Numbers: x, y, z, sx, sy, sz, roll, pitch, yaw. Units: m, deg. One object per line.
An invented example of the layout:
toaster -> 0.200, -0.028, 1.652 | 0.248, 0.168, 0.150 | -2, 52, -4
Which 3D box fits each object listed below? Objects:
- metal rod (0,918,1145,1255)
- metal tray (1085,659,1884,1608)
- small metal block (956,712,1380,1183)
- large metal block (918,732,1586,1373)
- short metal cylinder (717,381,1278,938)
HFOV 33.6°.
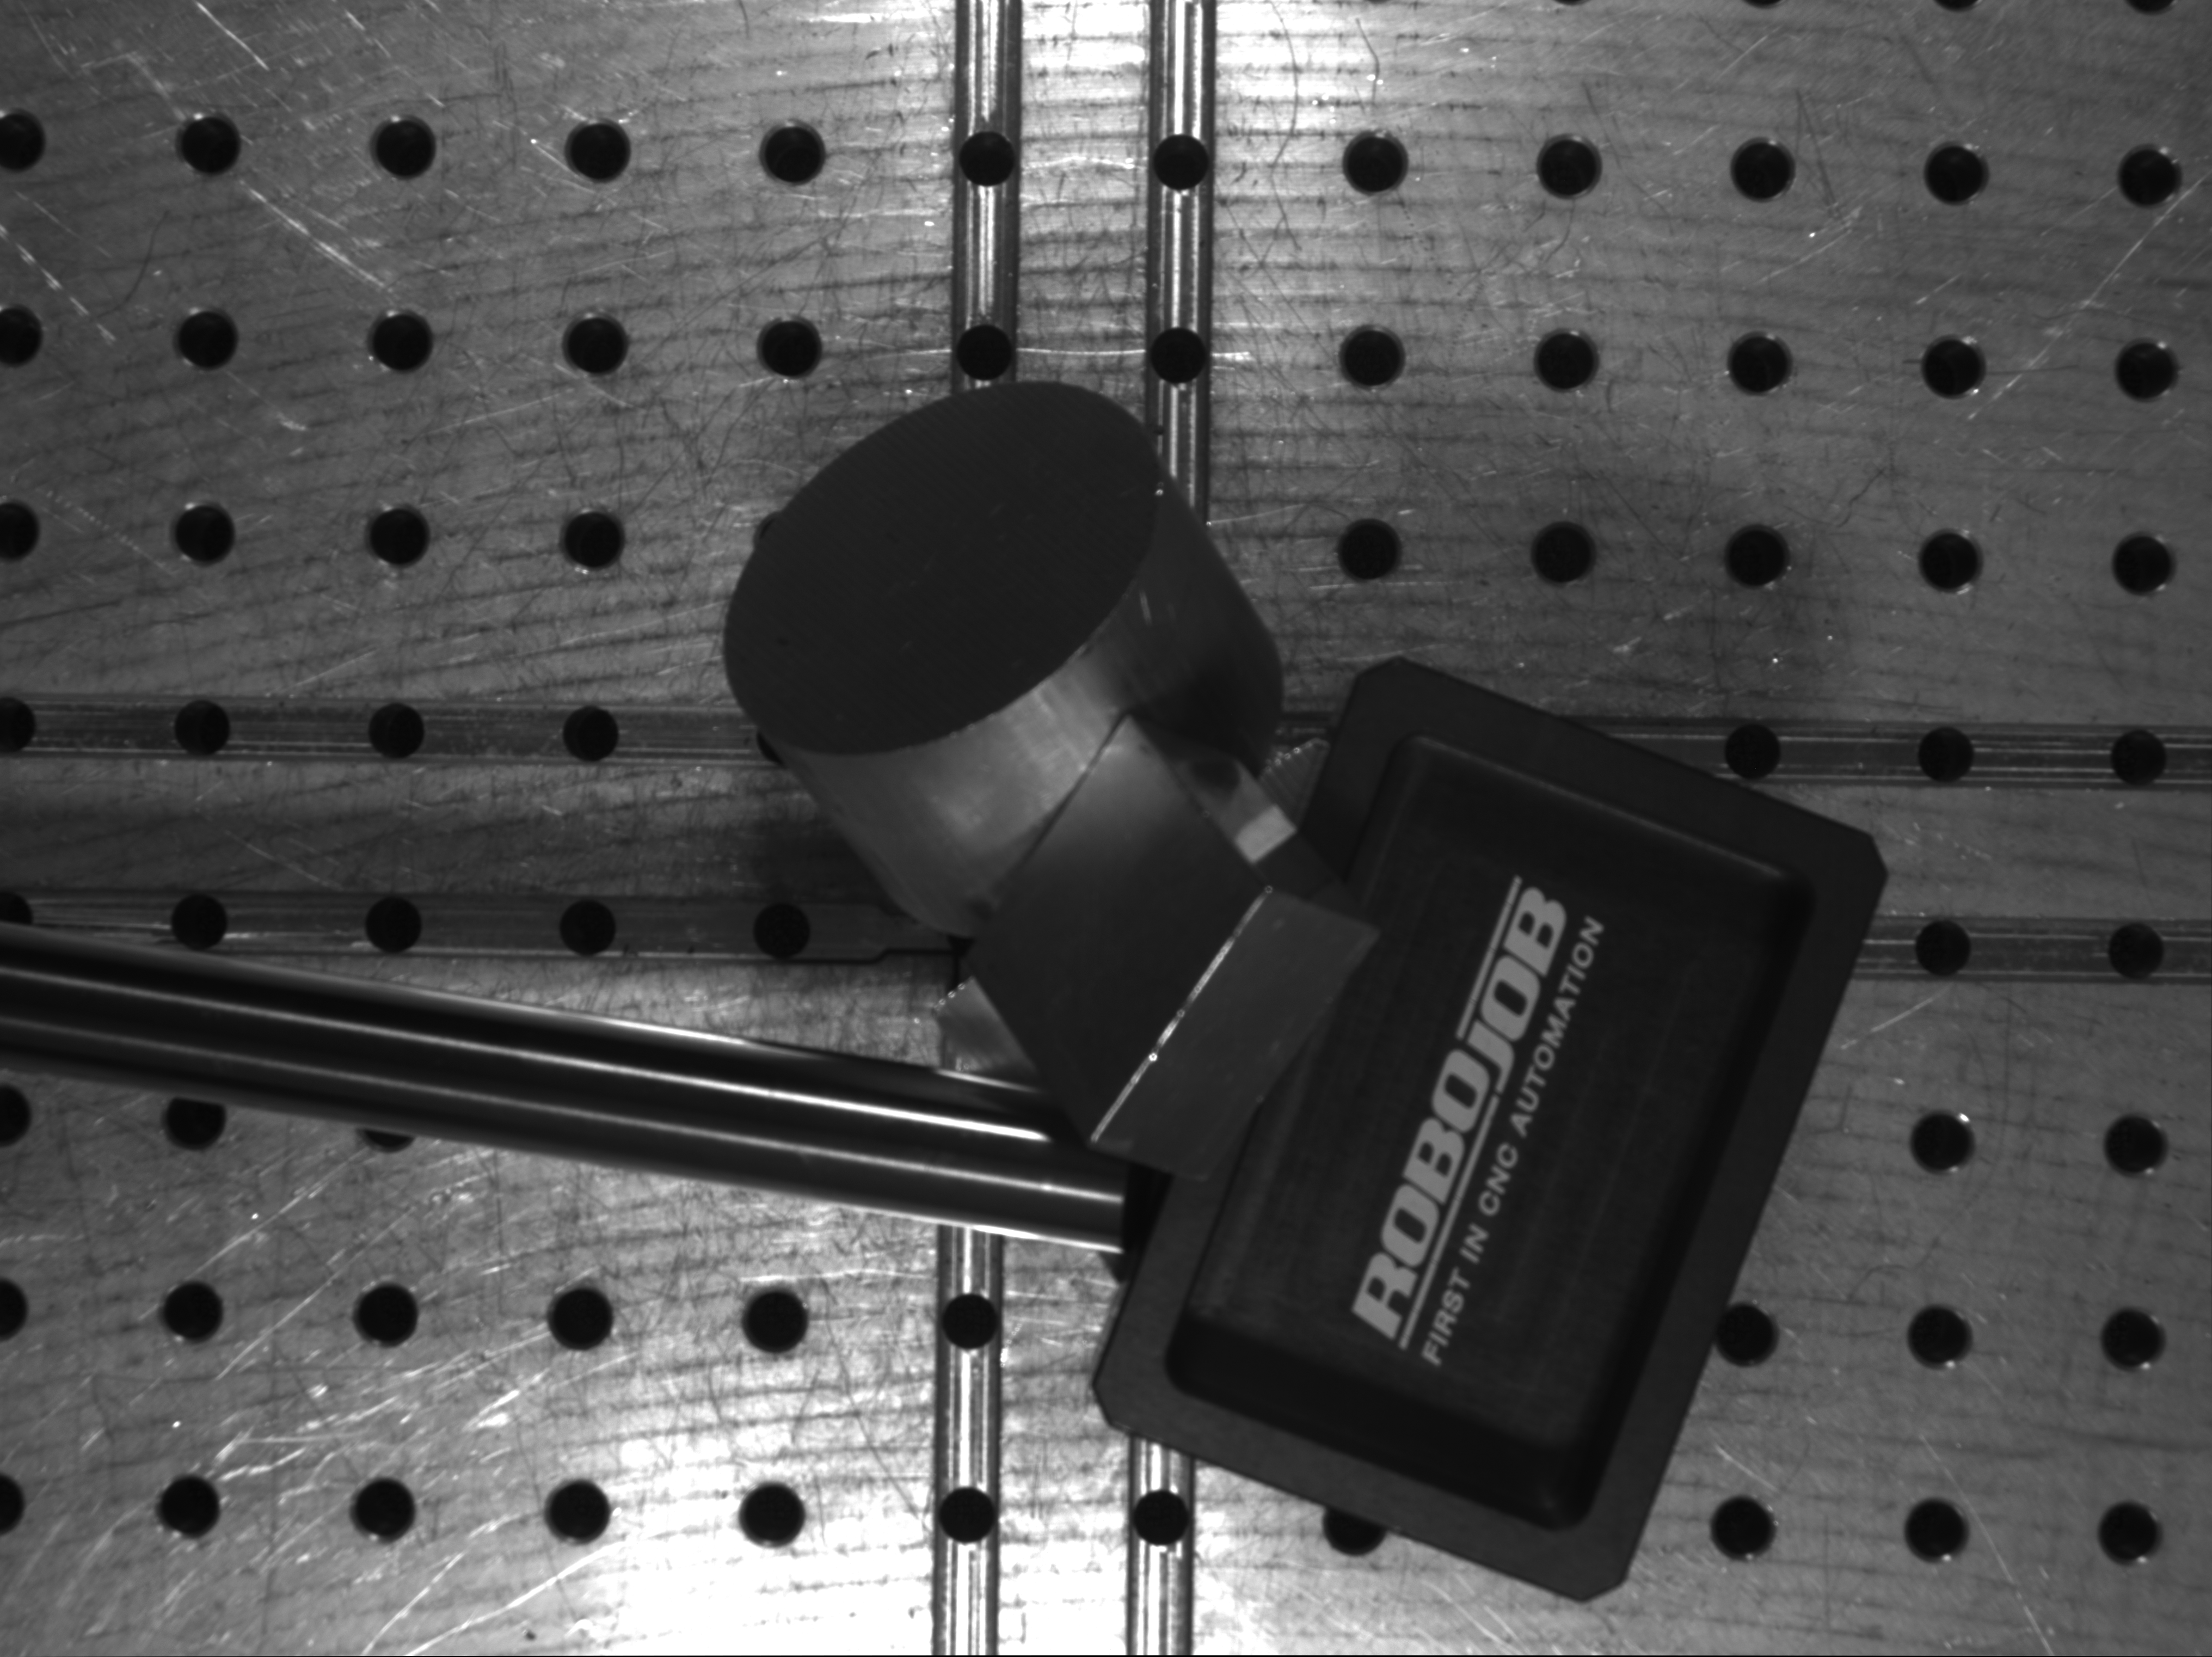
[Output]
metal rod -> -0.141, 0.035, 0.617 | 0.300, 0.025, 0.025 | 8, 90, 11
metal tray -> 0.060, 0.048, 0.592 | 0.090, 0.030, 0.130 | 21, 90, 0
small metal block -> 0.009, 0.018, 0.575 | 0.025, 0.050, 0.050 | 21, 111, -38
large metal block -> 0.024, 0.040, 0.634 | 0.080, 0.050, 0.080 | -35, 90, 0
short metal cylinder -> -0.018, -0.028, 0.614 | 0.080, 0.080, 0.050 | -35, 133, 0
